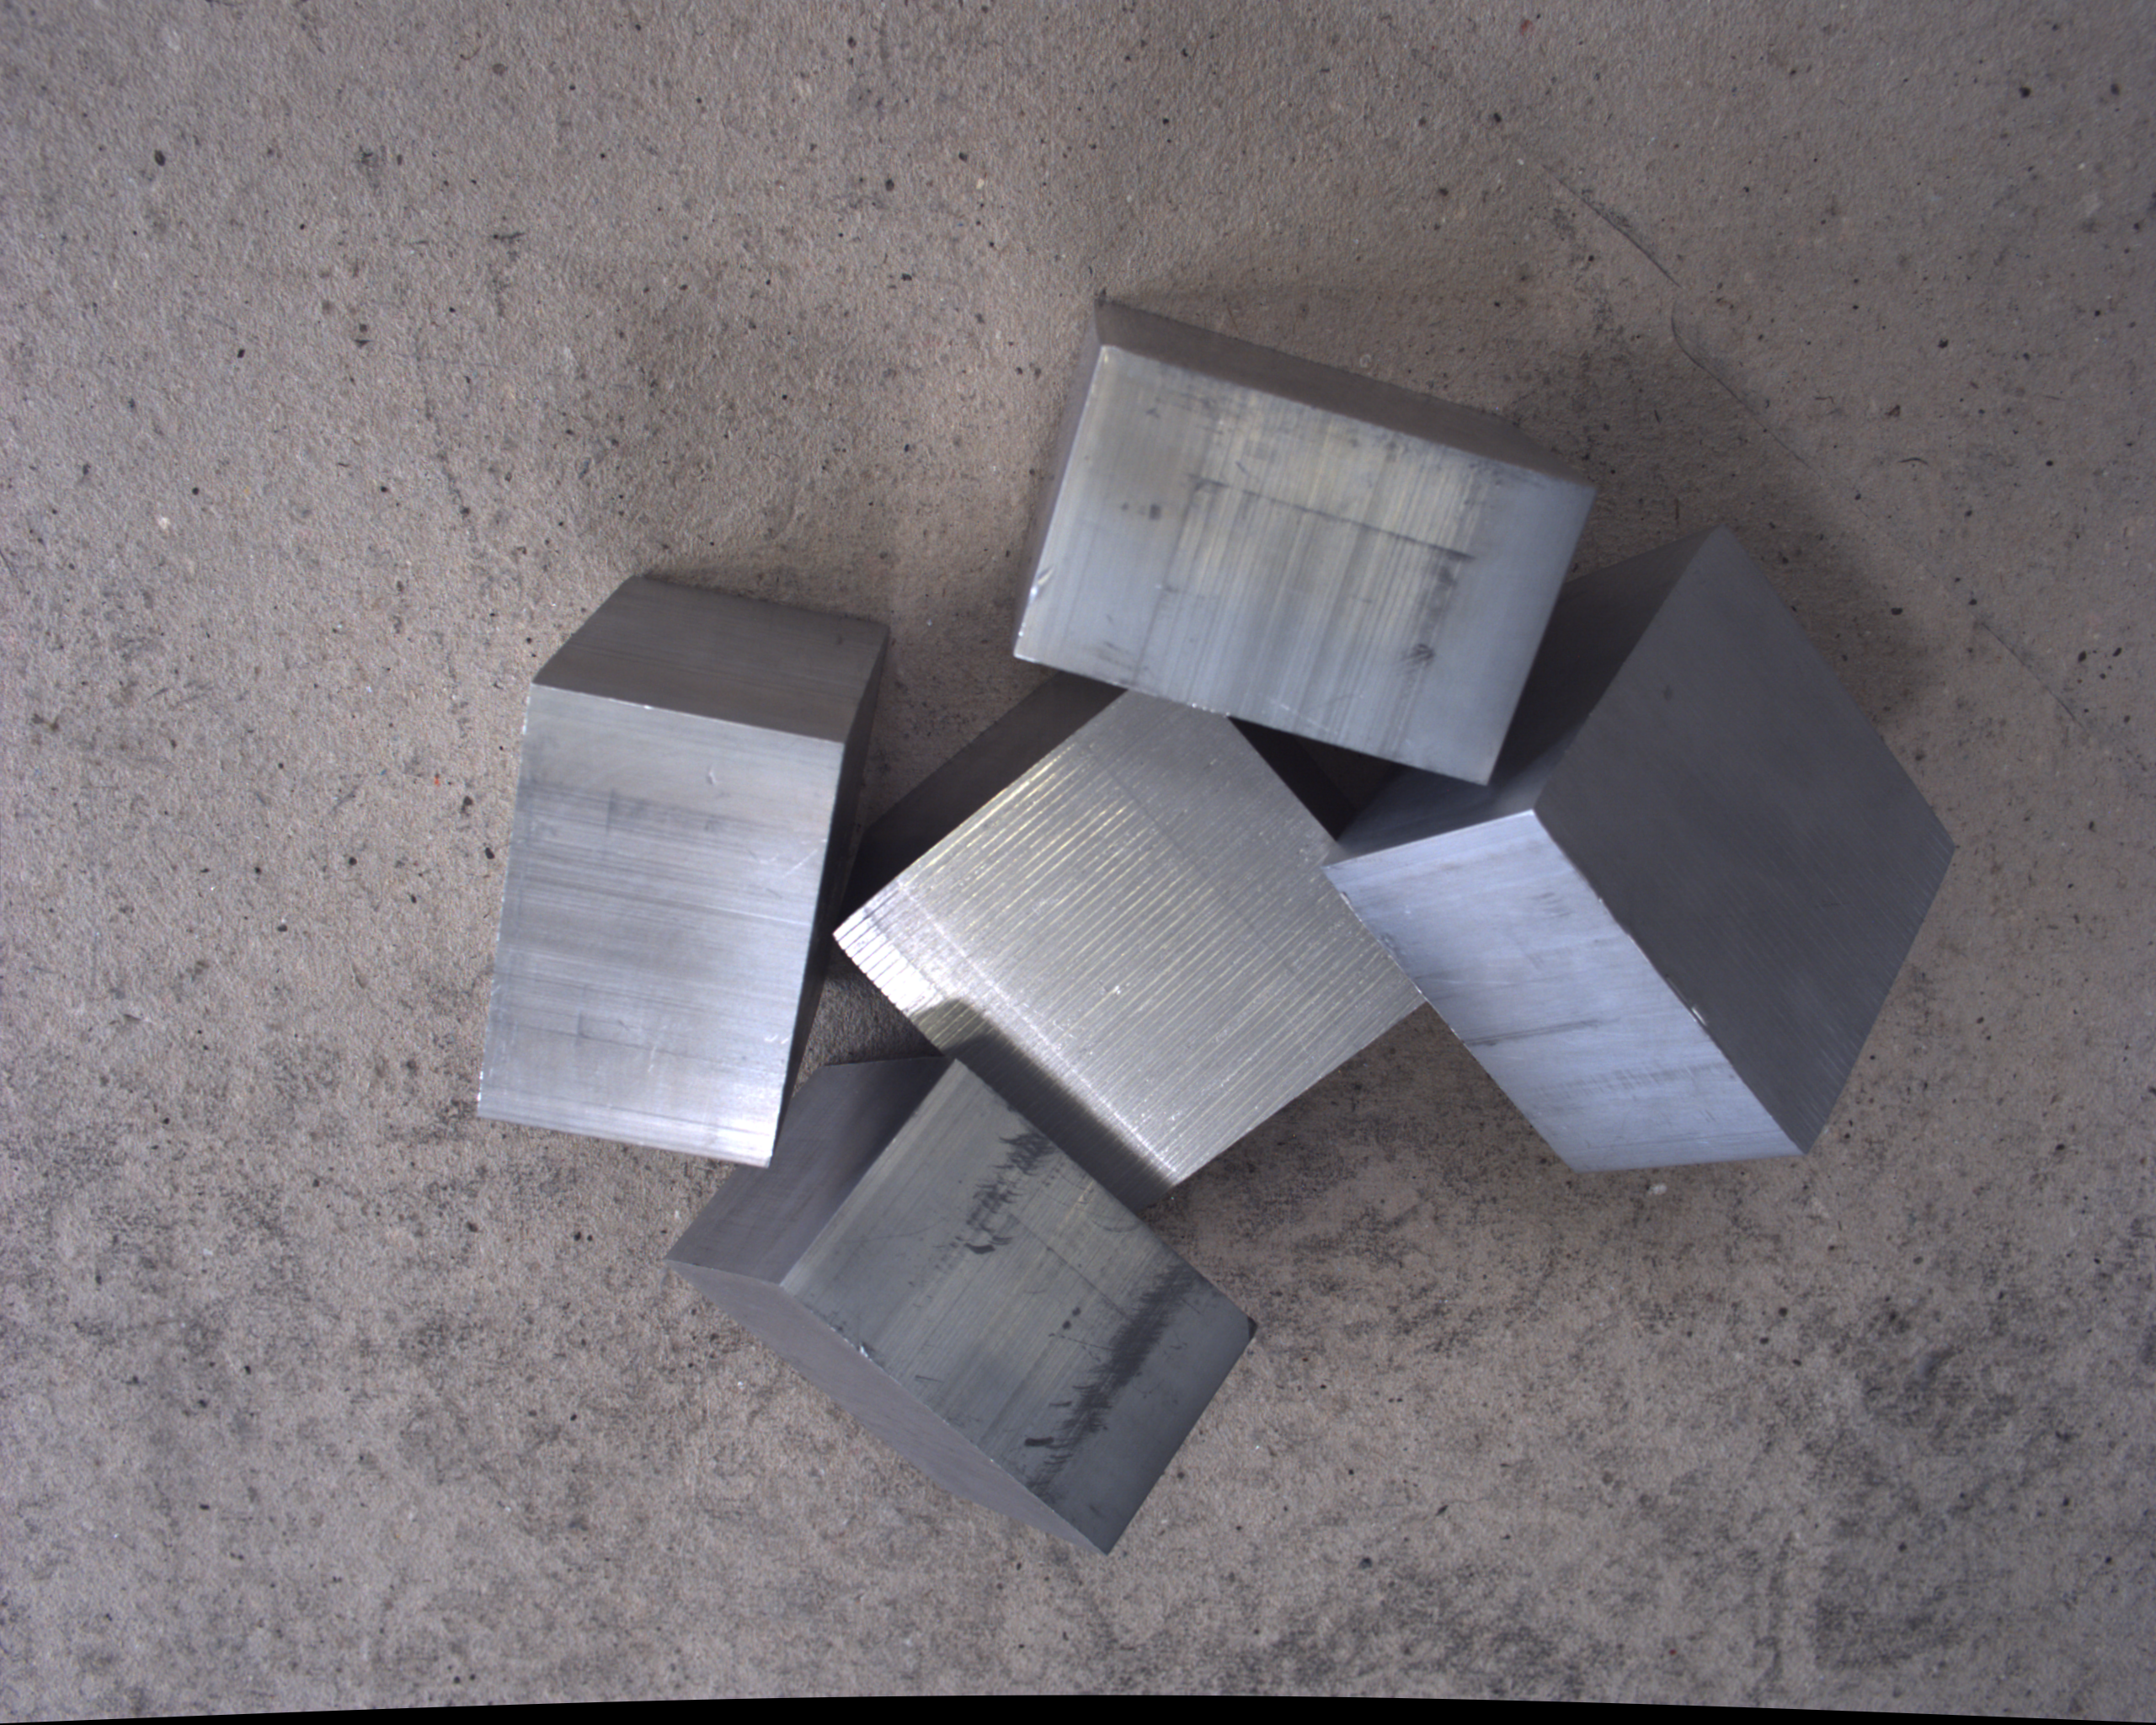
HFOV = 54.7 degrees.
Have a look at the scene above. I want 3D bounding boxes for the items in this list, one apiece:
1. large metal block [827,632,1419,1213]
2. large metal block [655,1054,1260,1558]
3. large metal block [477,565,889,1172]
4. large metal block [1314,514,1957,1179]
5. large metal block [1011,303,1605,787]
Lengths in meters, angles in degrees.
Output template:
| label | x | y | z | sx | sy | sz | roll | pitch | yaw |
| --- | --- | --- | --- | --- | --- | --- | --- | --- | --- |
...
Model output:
| label | x | y | z | sx | sy | sz | roll | pitch | yaw |
| --- | --- | --- | --- | --- | --- | --- | --- | --- | --- |
| large metal block | 0.012 | 0.008 | 0.399 | 0.080 | 0.050 | 0.080 | -39 | 107 | 13 |
| large metal block | -0.026 | 0.083 | 0.406 | 0.080 | 0.080 | 0.050 | 44 | 67 | -15 |
| large metal block | -0.070 | -0.002 | 0.381 | 0.050 | 0.080 | 0.079 | 11 | 111 | -5 |
| large metal block | 0.102 | -0.001 | 0.376 | 0.080 | 0.080 | 0.050 | 49 | 147 | -15 |
| large metal block | 0.035 | -0.058 | 0.361 | 0.080 | 0.080 | 0.050 | 15 | 109 | -6 |
